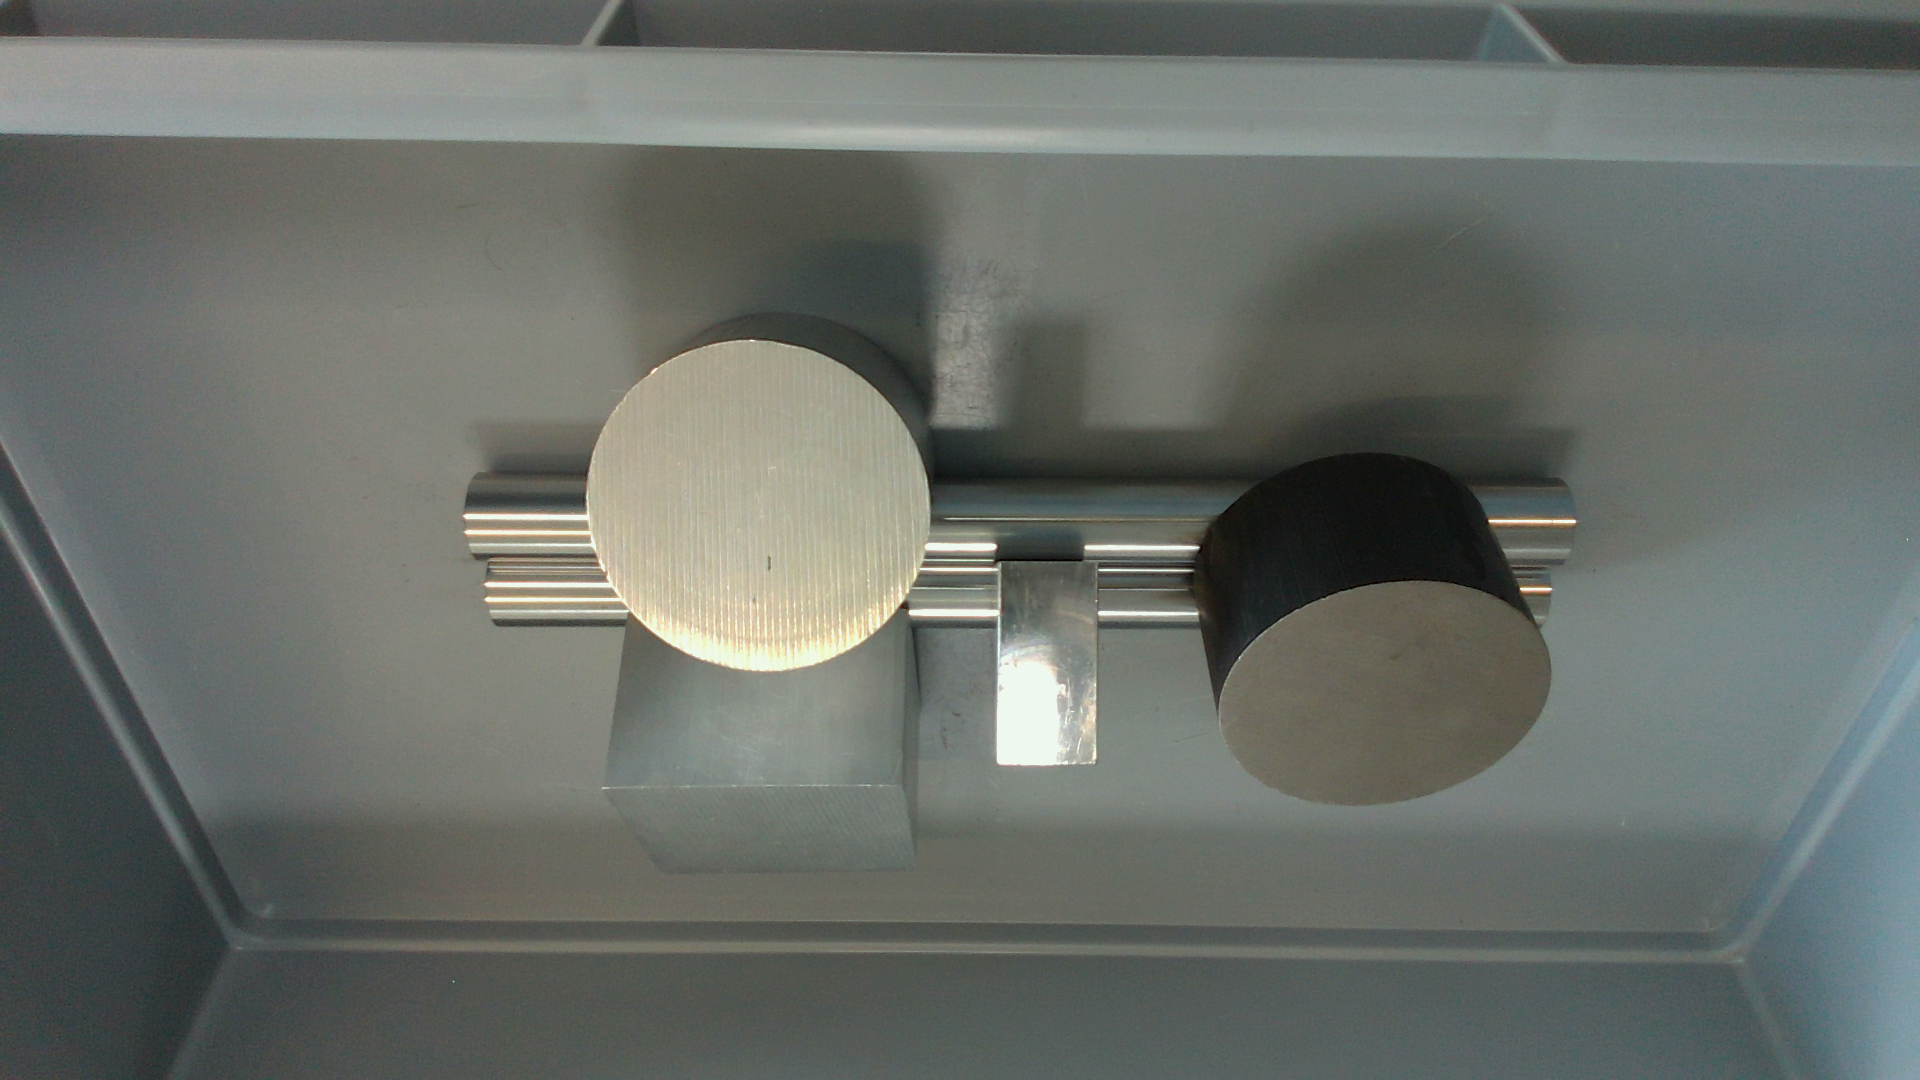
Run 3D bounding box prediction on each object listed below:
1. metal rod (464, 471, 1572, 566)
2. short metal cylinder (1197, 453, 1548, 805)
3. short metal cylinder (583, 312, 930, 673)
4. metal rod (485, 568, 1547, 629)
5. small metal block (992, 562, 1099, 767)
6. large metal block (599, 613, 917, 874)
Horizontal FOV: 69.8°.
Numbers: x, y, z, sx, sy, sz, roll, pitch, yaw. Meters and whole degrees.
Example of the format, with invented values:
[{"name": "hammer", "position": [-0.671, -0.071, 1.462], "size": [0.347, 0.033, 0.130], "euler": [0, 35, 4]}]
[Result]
[{"name": "metal rod", "position": [0.016, -0.006, 0.385], "size": [0.300, 0.025, 0.025], "euler": [0, 130, -1]}, {"name": "short metal cylinder", "position": [0.105, 0.024, 0.361], "size": [0.080, 0.050, 0.080], "euler": [0, 130, 0]}, {"name": "short metal cylinder", "position": [-0.047, -0.014, 0.342], "size": [0.080, 0.050, 0.080], "euler": [0, 106, -1]}, {"name": "metal rod", "position": [0.016, 0.013, 0.401], "size": [0.300, 0.025, 0.025], "euler": [0, 130, -1]}, {"name": "small metal block", "position": [0.021, 0.031, 0.363], "size": [0.025, 0.050, 0.050], "euler": [0, 88, -1]}, {"name": "large metal block", "position": [-0.054, 0.062, 0.407], "size": [0.080, 0.050, 0.080], "euler": [-1, 150, 0]}]
